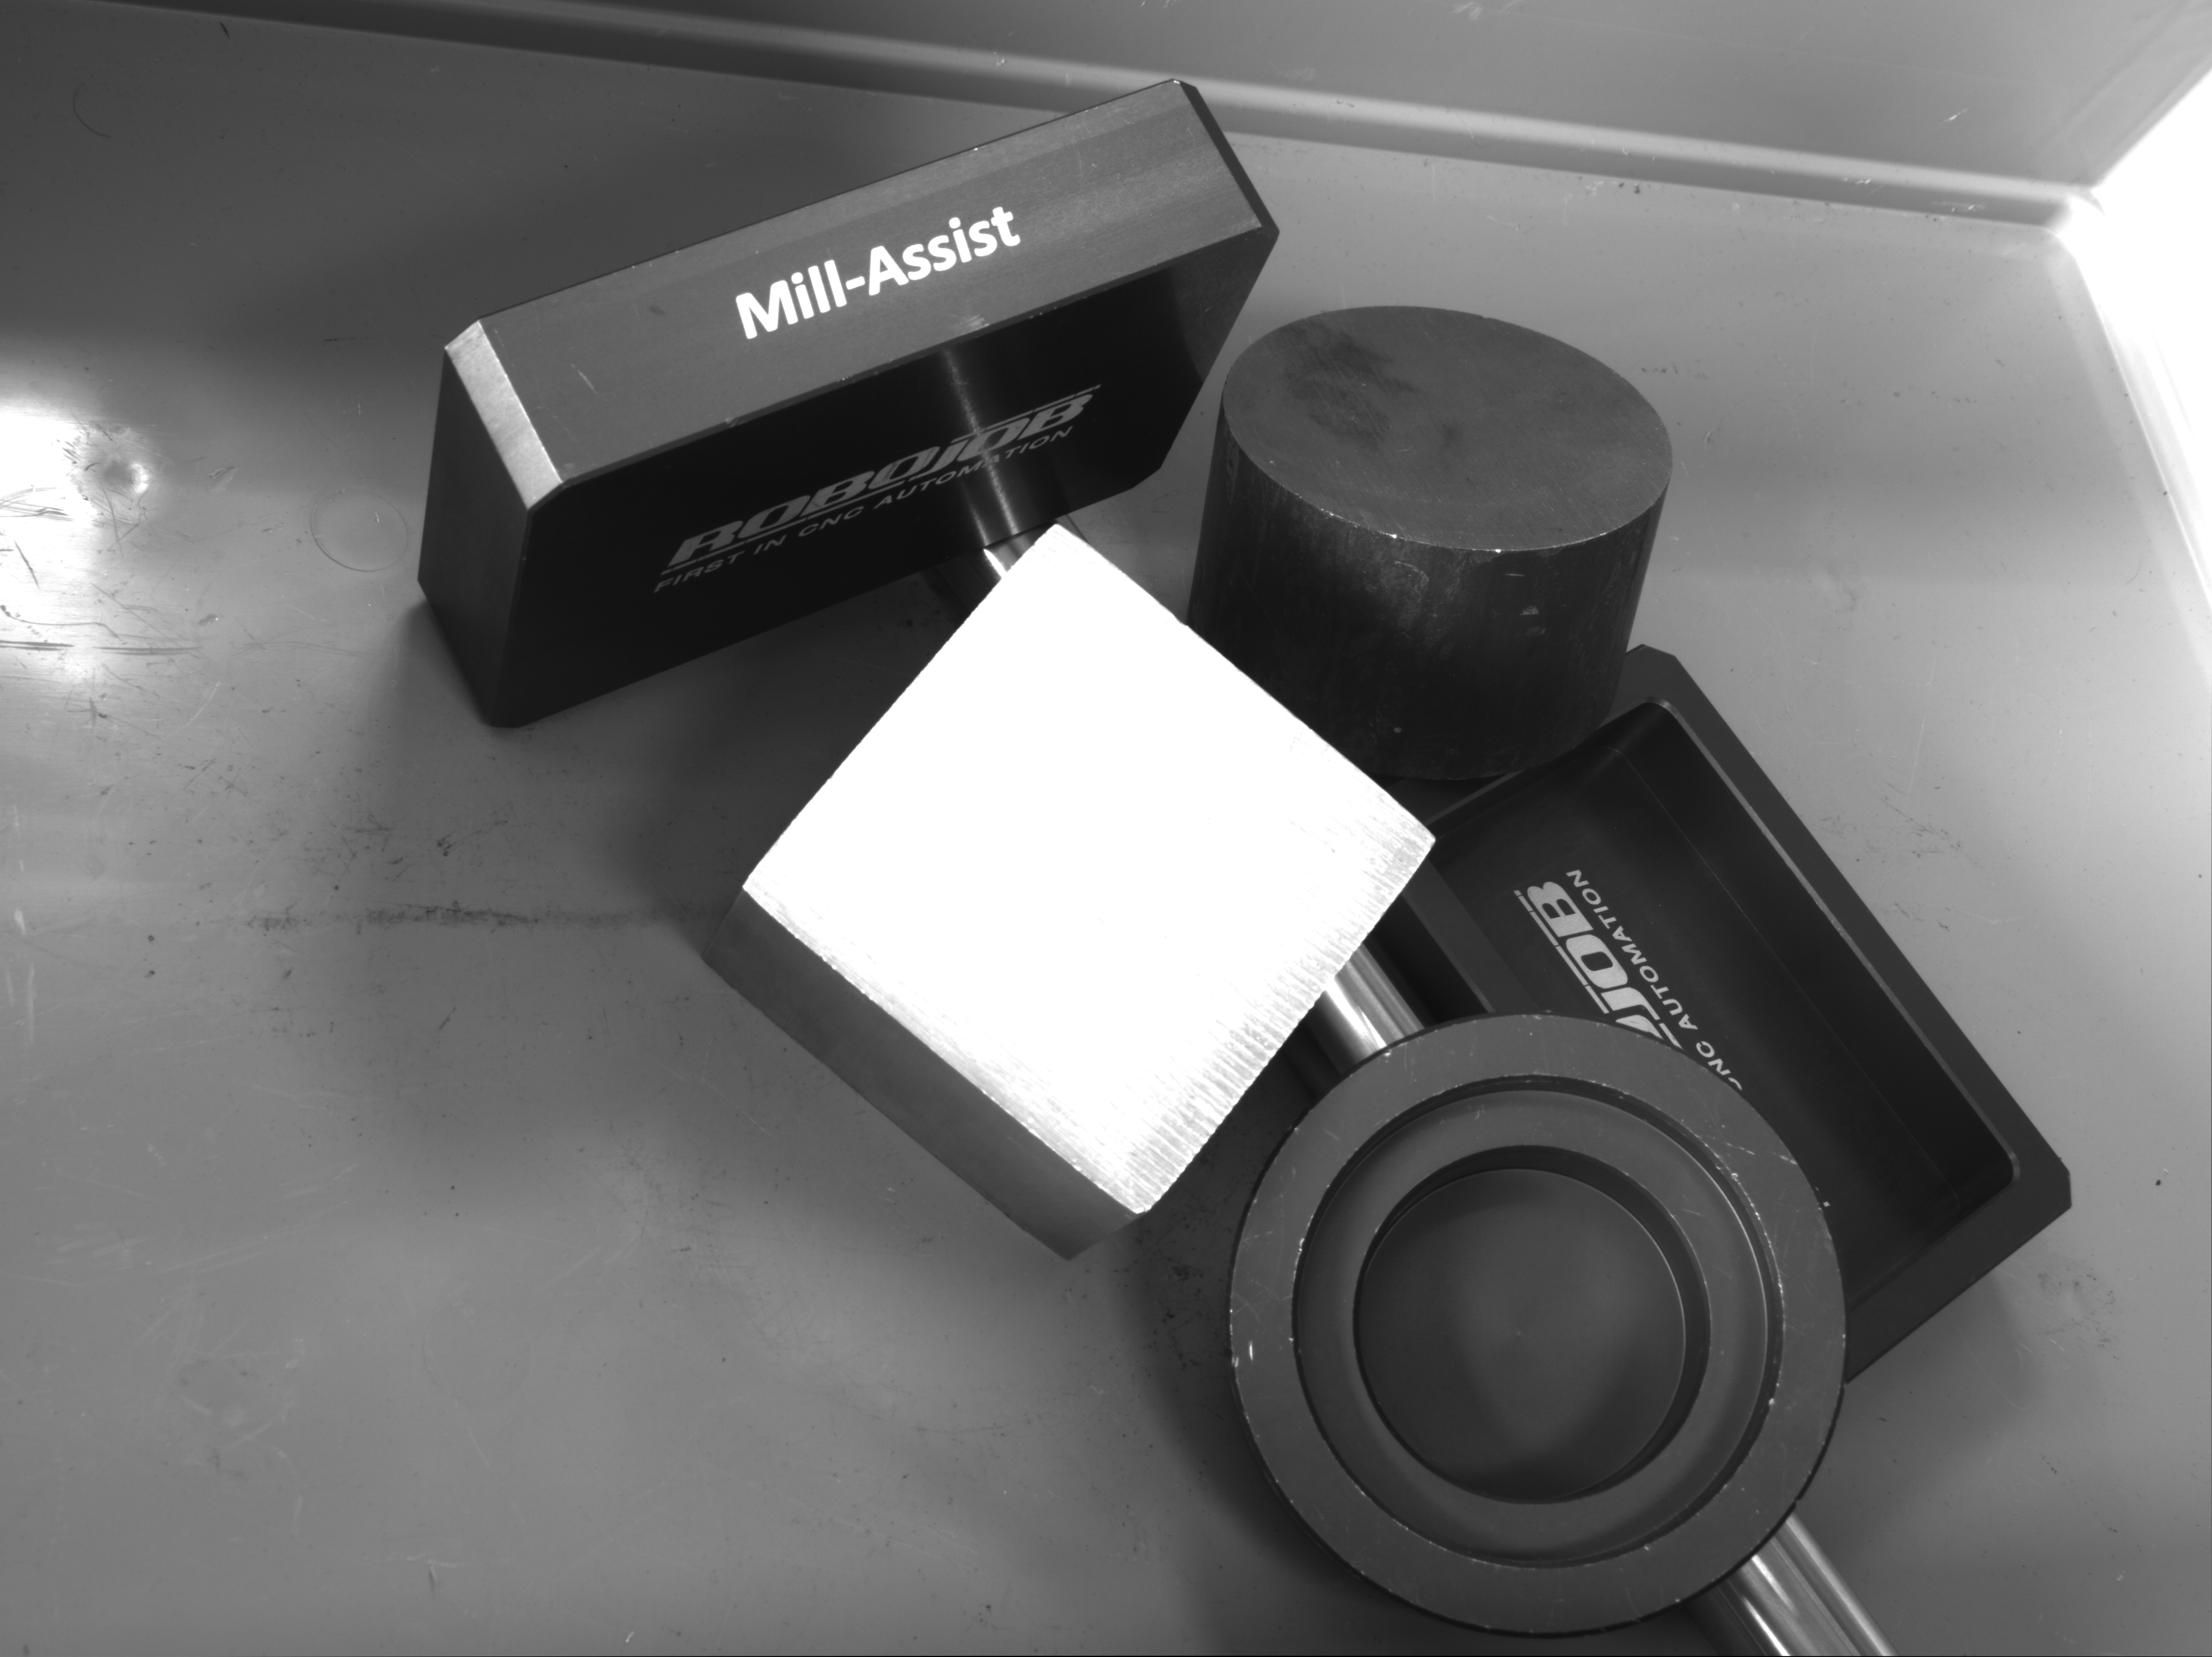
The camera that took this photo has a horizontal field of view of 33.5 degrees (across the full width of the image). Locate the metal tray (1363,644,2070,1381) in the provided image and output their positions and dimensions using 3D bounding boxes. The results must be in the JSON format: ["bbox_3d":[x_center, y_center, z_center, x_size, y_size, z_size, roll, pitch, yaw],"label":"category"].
[{"bbox_3d":[0.104,0.039,0.667,0.090,0.030,0.130,-28,77,-37],"label":"metal tray"}]

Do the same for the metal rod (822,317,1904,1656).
[{"bbox_3d":[0.038,0.027,0.641,0.025,0.025,0.300,-28,77,-37],"label":"metal rod"}]

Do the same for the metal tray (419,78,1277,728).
[{"bbox_3d":[-0.044,-0.068,0.596,0.130,0.090,0.030,-23,75,-21],"label":"metal tray"}]

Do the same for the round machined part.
[{"bbox_3d":[0.068,0.081,0.596,0.098,0.042,0.098,0,78,1],"label":"round machined part"}]

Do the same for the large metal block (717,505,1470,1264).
[{"bbox_3d":[-0.003,0.010,0.591,0.080,0.050,0.080,41,69,0],"label":"large metal block"}]

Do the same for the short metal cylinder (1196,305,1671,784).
[{"bbox_3d":[0.058,-0.053,0.666,0.080,0.050,0.080,5,38,-4],"label":"short metal cylinder"}]
